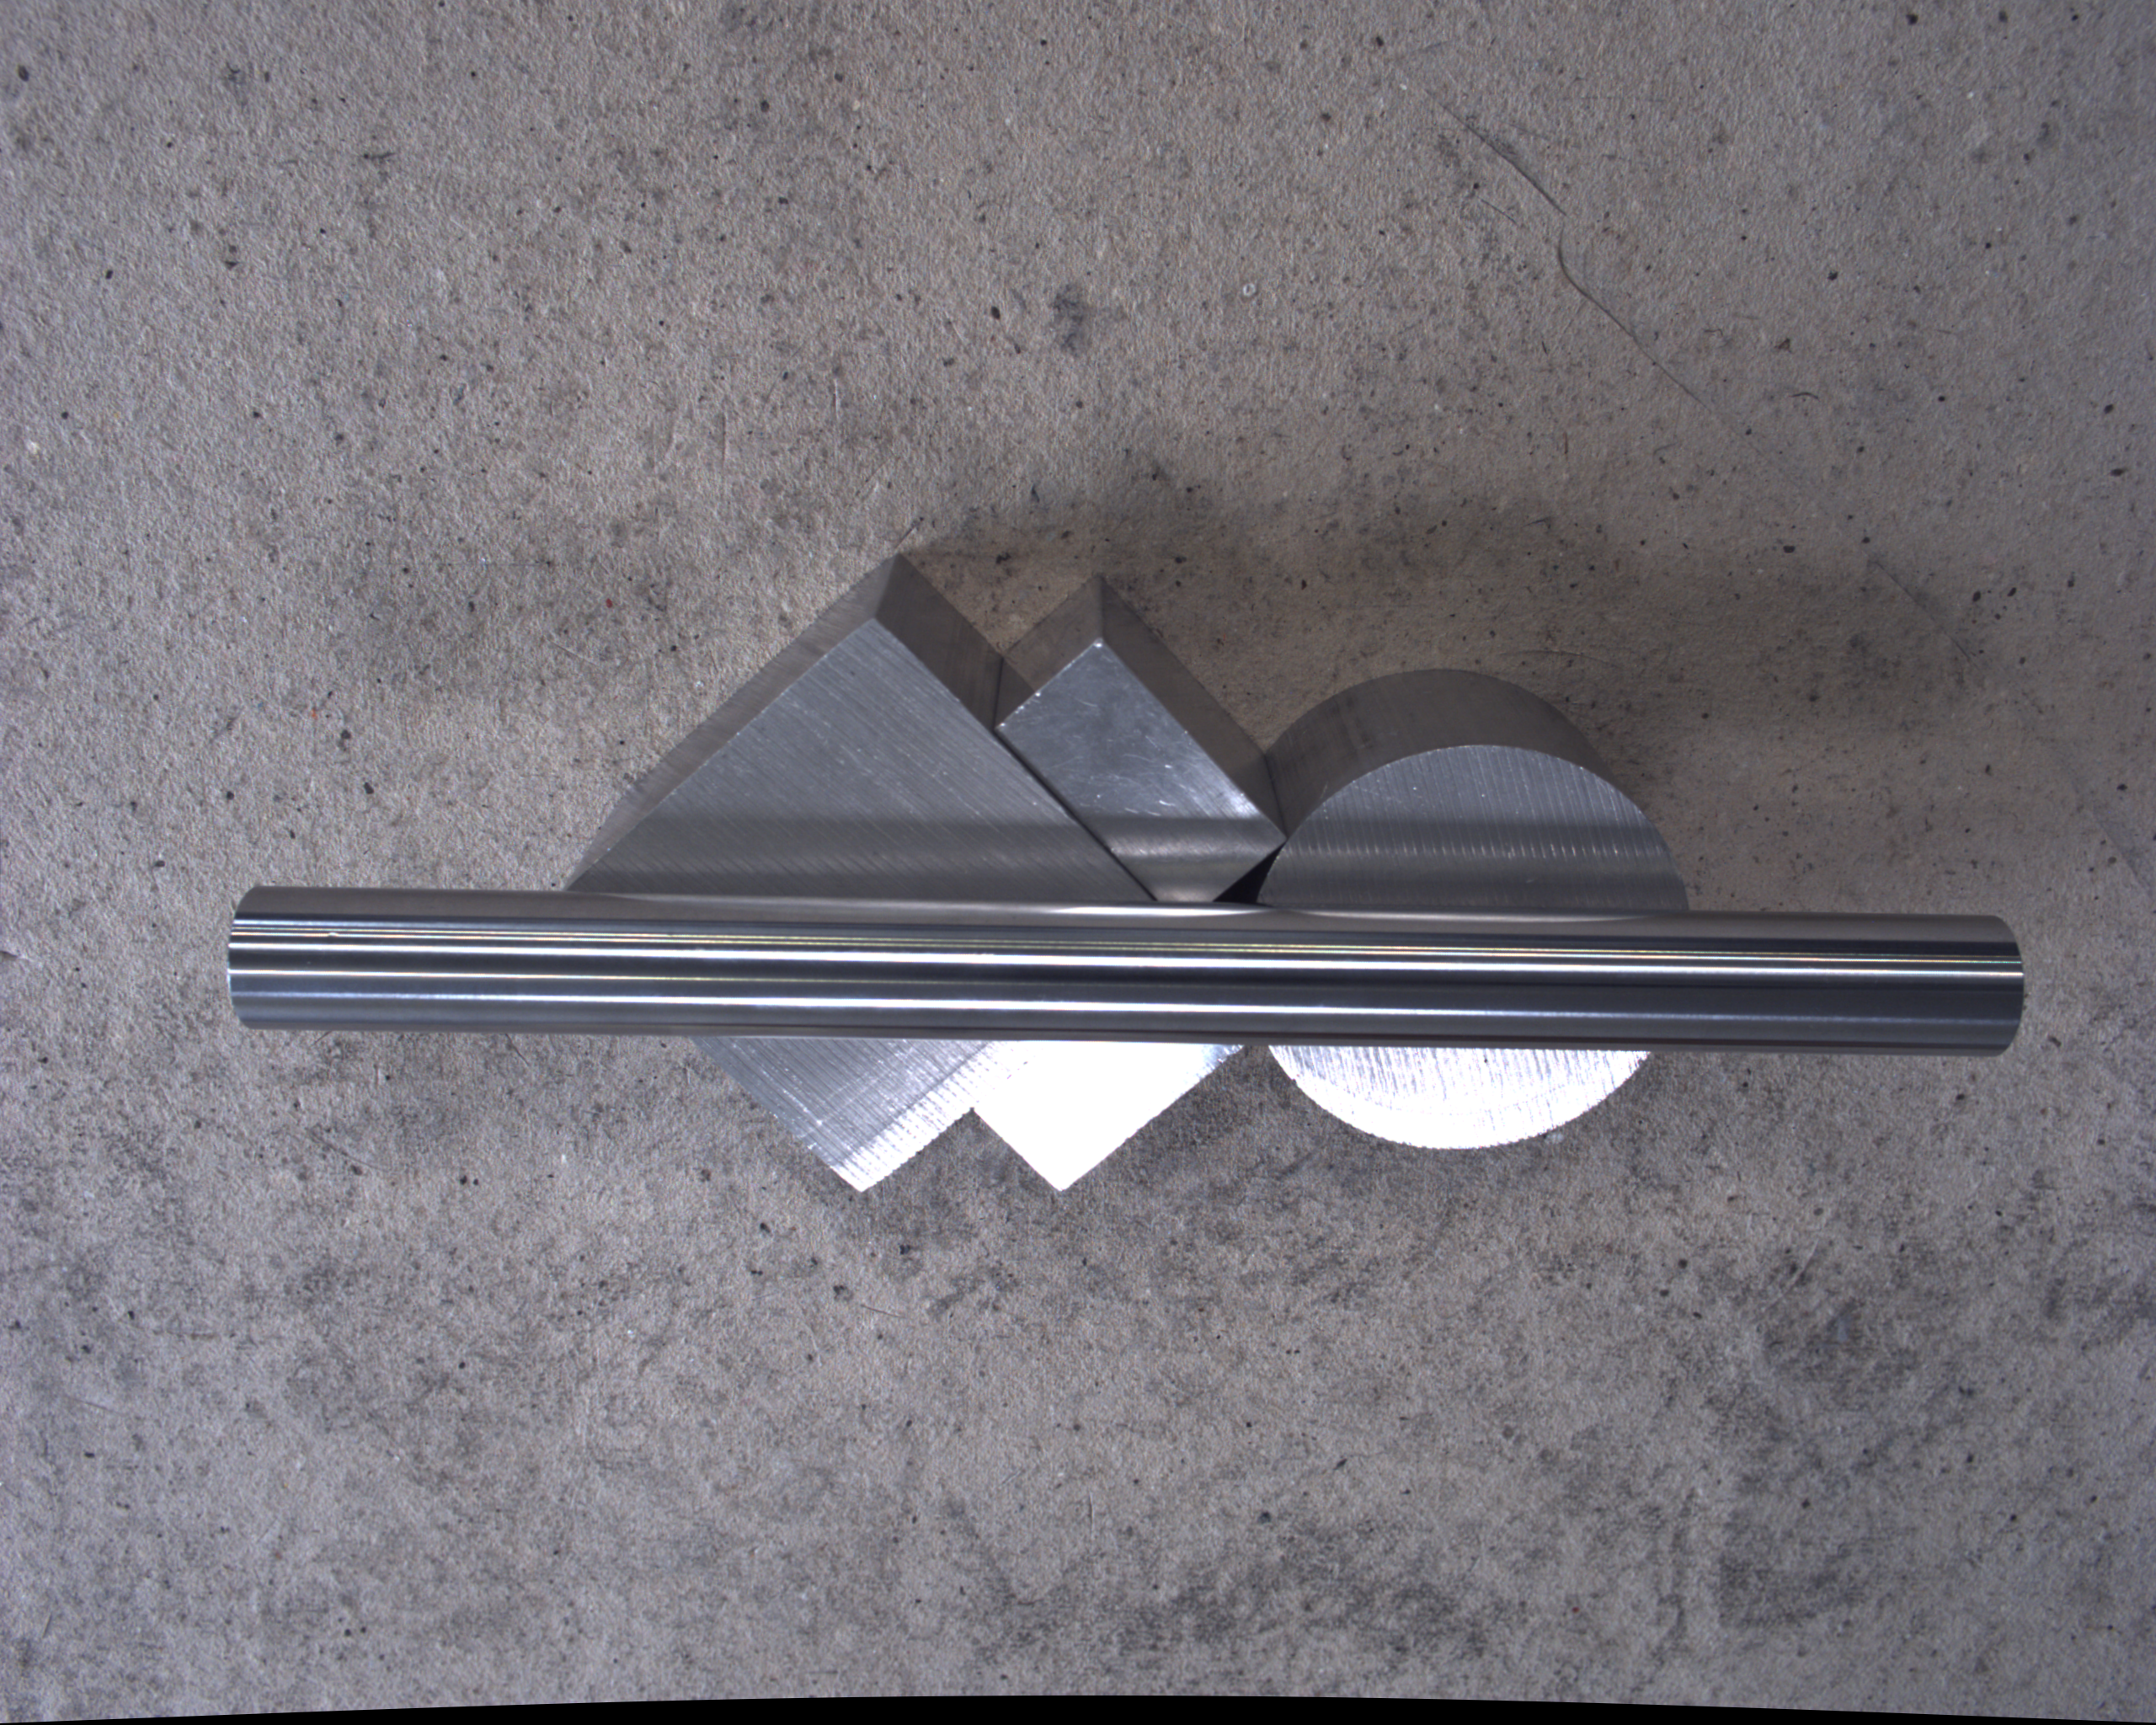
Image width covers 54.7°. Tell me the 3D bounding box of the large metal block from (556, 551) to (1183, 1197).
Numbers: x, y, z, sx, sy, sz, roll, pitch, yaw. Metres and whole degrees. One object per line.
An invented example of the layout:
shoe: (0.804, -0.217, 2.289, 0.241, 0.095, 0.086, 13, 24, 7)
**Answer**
large metal block: (-0.038, 0.002, 0.396, 0.080, 0.050, 0.080, -40, 106, 13)

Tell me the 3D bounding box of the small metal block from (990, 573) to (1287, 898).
small metal block: (0.011, -0.022, 0.390, 0.025, 0.050, 0.050, -41, 106, 13)

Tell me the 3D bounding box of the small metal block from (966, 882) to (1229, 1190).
small metal block: (0.006, 0.029, 0.409, 0.050, 0.050, 0.025, -40, 106, 13)

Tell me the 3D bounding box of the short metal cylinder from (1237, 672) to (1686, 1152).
short metal cylinder: (0.070, 0.008, 0.401, 0.081, 0.050, 0.079, 0, 110, 0)

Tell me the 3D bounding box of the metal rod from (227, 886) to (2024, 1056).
metal rod: (0.009, 0.019, 0.363, 0.302, 0.025, 0.025, 1, 110, -1)
